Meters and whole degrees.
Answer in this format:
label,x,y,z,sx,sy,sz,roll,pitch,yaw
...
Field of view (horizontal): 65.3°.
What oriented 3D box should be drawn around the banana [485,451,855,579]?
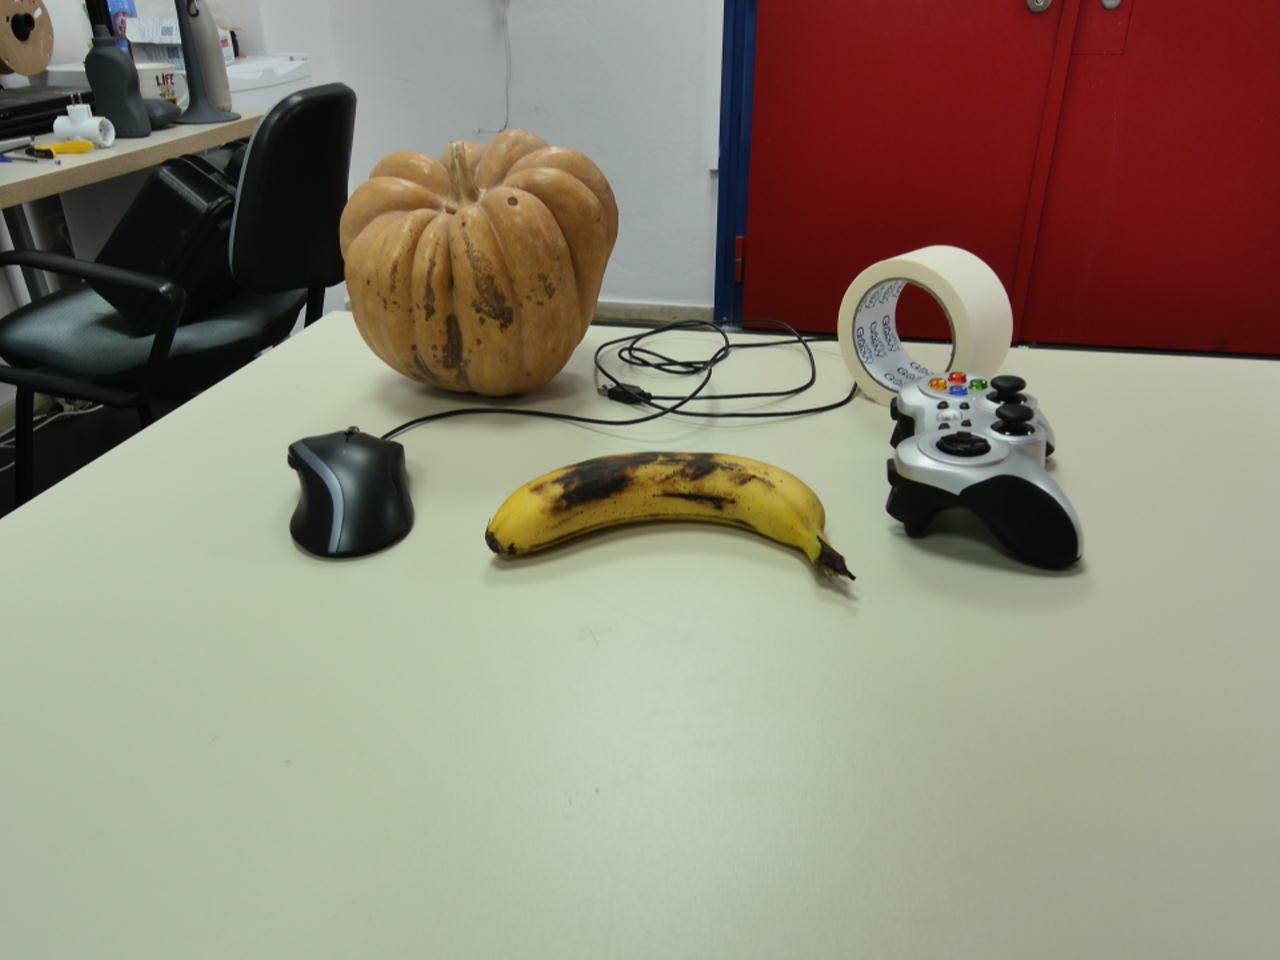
label,x,y,z,sx,sy,sz,roll,pitch,yaw
banana,0.019,0.015,0.539,0.187,0.039,0.094,5,26,9
